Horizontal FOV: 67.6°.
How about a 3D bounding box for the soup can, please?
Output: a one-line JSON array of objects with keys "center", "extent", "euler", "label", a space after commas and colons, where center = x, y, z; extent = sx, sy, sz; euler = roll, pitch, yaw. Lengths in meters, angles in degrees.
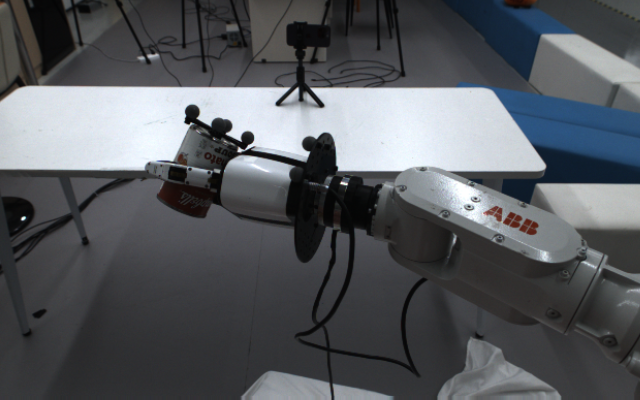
[{"center": [-0.155, -0.035, 0.616], "extent": [0.067, 0.101, 0.067], "euler": [27, 6, -3], "label": "soup can"}]
